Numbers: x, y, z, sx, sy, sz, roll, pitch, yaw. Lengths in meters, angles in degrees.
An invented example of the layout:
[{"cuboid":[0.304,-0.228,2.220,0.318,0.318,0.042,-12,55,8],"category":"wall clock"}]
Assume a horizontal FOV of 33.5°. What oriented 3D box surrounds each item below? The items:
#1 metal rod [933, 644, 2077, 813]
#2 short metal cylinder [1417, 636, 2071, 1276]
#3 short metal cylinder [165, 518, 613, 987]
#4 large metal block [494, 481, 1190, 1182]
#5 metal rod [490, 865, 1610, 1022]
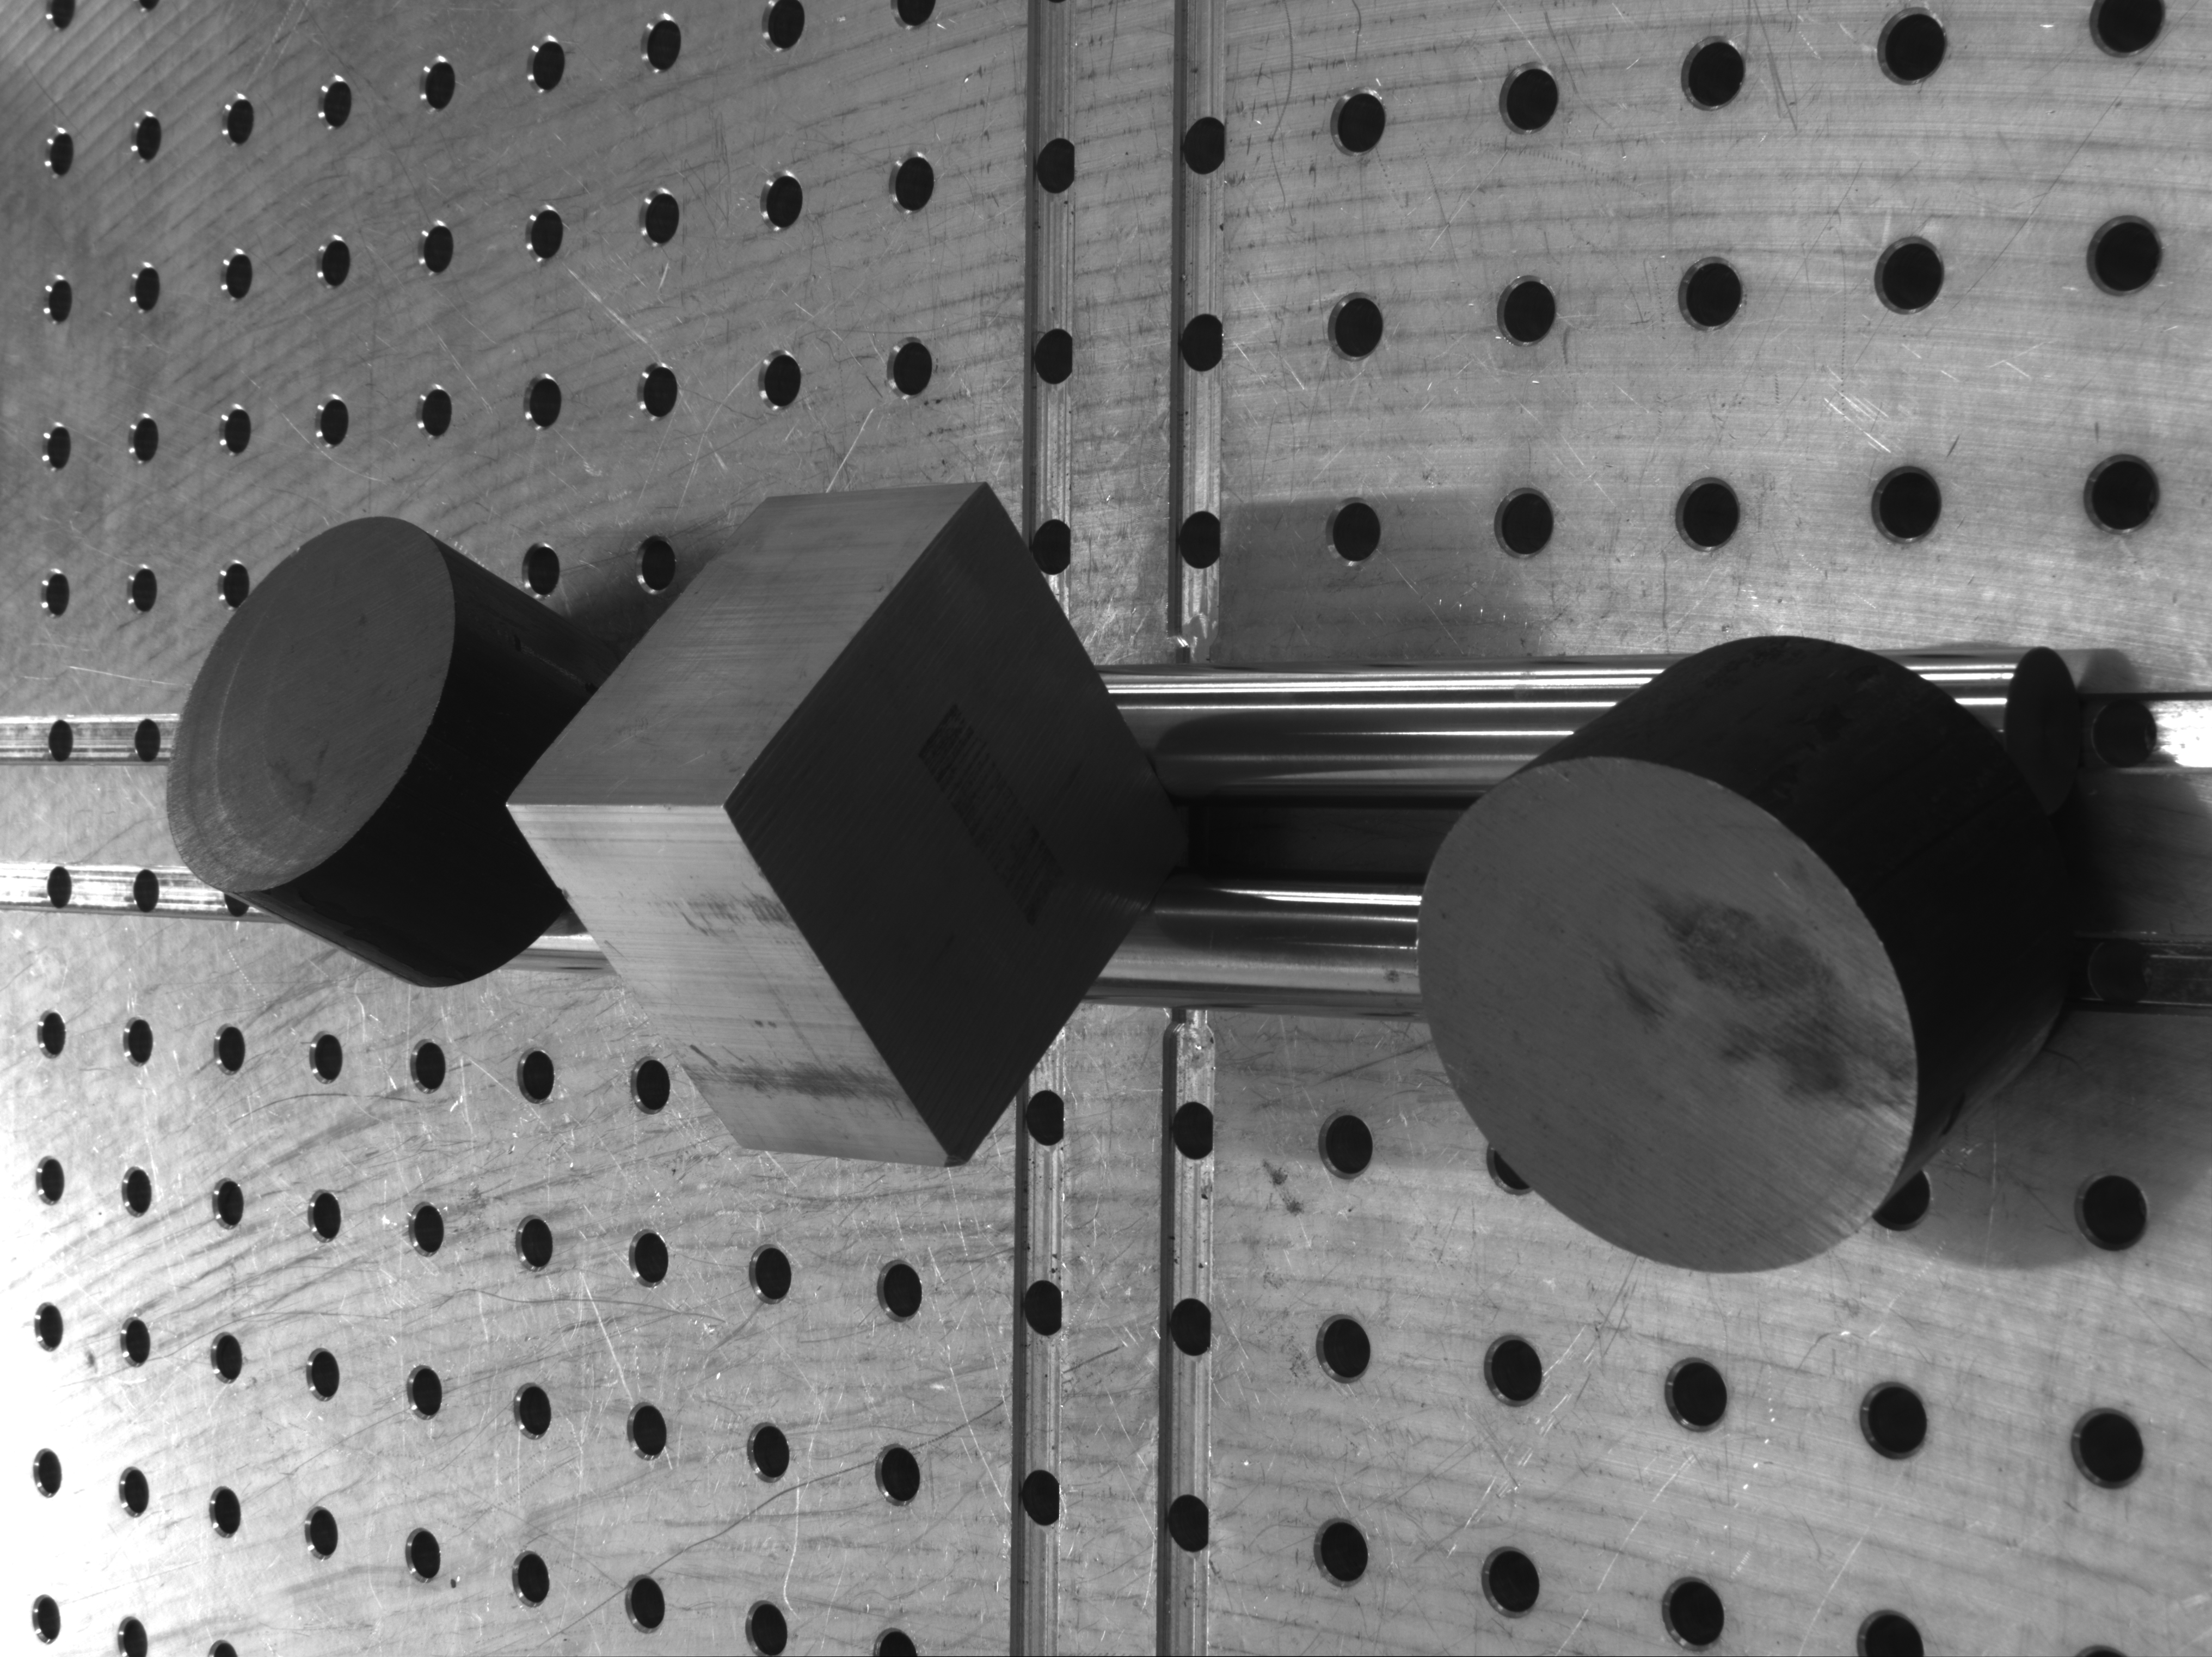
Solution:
[{"cuboid":[0.021,-0.016,0.630,0.299,0.025,0.025,1,90,40],"category":"metal rod"},{"cuboid":[0.093,0.018,0.537,0.080,0.050,0.080,20,124,32],"category":"short metal cylinder"},{"cuboid":[-0.141,-0.015,0.732,0.080,0.050,0.080,-19,56,31],"category":"short metal cylinder"},{"cuboid":[-0.041,0.000,0.608,0.050,0.080,0.080,1,132,40],"category":"large metal block"},{"cuboid":[-0.035,0.018,0.678,0.299,0.025,0.025,1,90,40],"category":"metal rod"}]
